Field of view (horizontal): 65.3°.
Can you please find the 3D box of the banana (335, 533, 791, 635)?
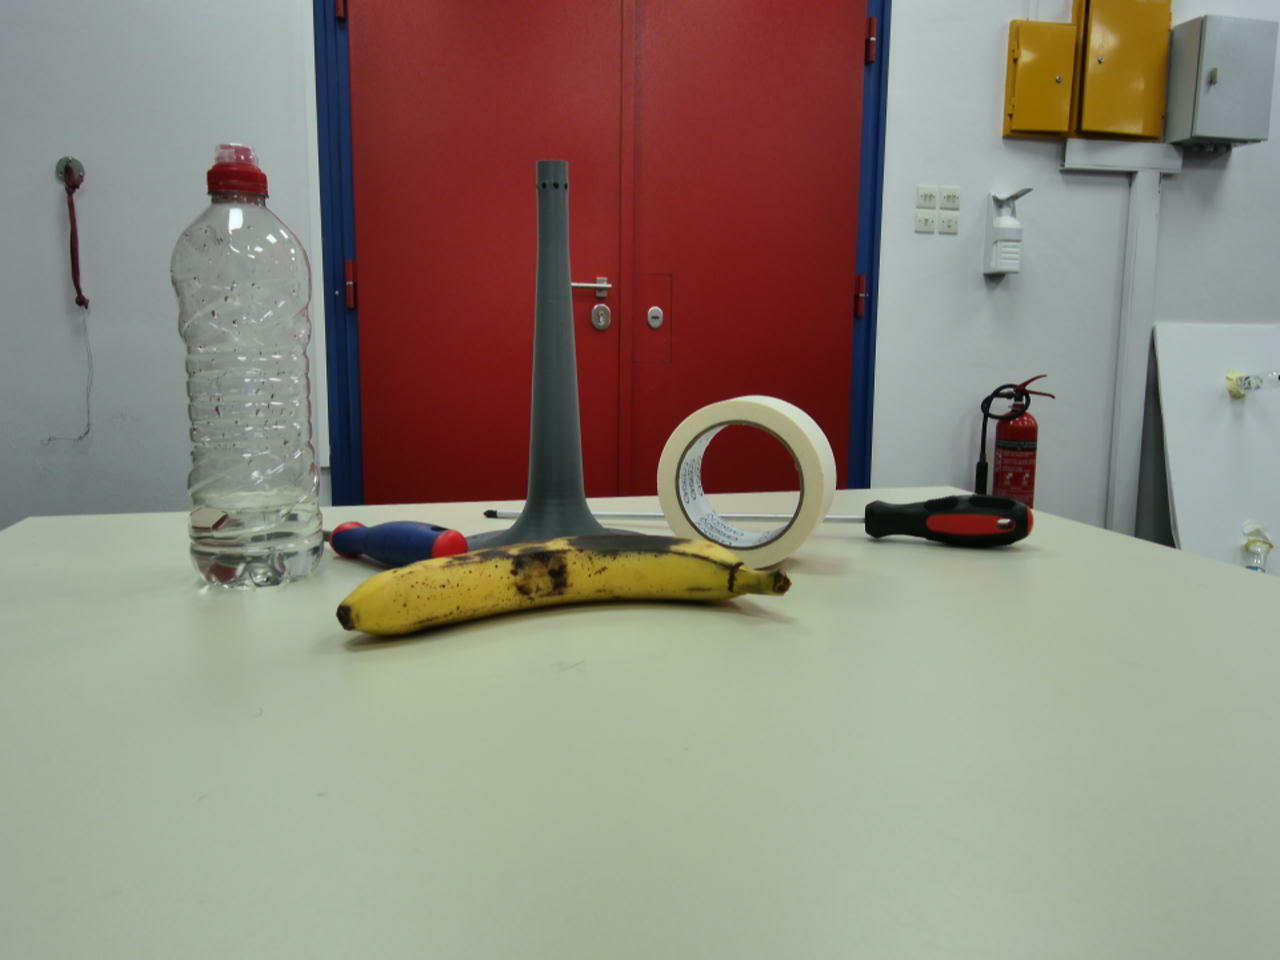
[{"bbox_3d":[-0.039,0.052,0.519,0.222,0.037,0.084,-1,7,-13],"label":"banana"}]
